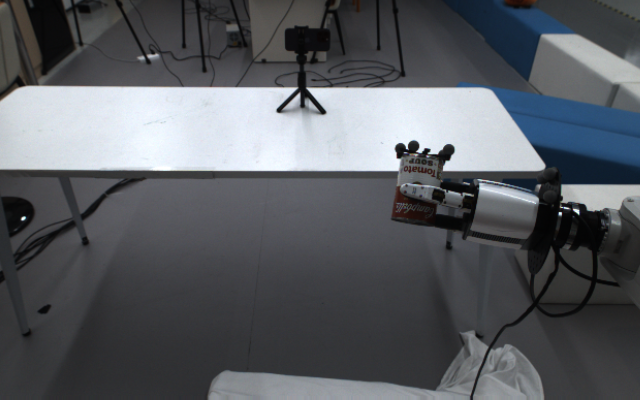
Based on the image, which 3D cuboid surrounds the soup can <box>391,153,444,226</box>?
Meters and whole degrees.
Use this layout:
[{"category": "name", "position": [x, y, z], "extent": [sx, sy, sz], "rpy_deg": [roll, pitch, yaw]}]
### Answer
[{"category": "soup can", "position": [0.151, -0.017, 0.747], "extent": [0.067, 0.101, 0.067], "rpy_deg": [9, -5, 1]}]
